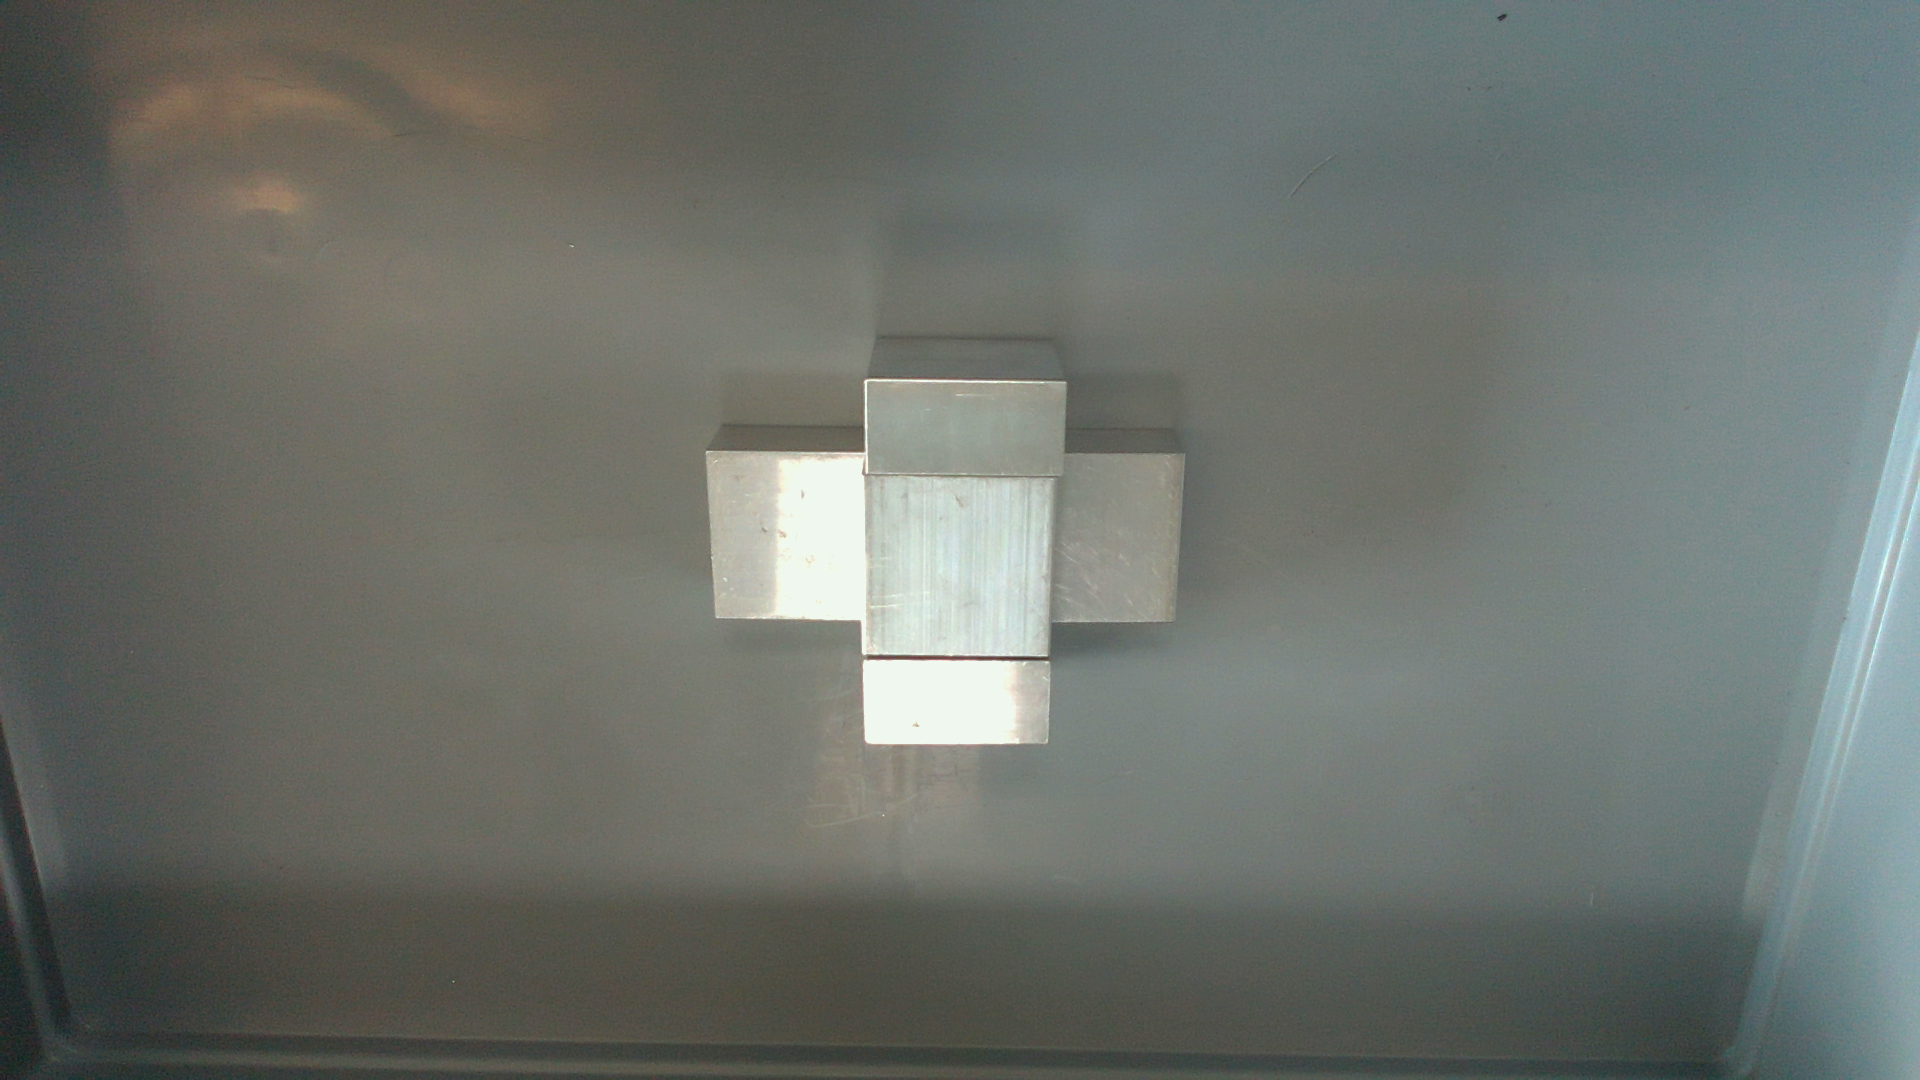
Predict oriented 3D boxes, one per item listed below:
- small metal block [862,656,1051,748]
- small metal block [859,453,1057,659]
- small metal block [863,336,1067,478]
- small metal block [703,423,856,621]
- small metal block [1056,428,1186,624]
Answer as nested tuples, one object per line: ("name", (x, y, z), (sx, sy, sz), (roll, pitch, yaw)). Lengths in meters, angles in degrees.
("small metal block", (-0.001, 0.036, 0.391), (0.050, 0.050, 0.025), (1, 110, -1))
("small metal block", (-0.001, 0.003, 0.366), (0.050, 0.025, 0.050), (1, 110, -1))
("small metal block", (0.001, -0.036, 0.365), (0.050, 0.050, 0.025), (1, 110, -1))
("small metal block", (-0.044, -0.005, 0.390), (0.050, 0.025, 0.050), (1, 110, 0))
("small metal block", (0.036, -0.004, 0.391), (0.050, 0.025, 0.050), (1, 110, -1))
